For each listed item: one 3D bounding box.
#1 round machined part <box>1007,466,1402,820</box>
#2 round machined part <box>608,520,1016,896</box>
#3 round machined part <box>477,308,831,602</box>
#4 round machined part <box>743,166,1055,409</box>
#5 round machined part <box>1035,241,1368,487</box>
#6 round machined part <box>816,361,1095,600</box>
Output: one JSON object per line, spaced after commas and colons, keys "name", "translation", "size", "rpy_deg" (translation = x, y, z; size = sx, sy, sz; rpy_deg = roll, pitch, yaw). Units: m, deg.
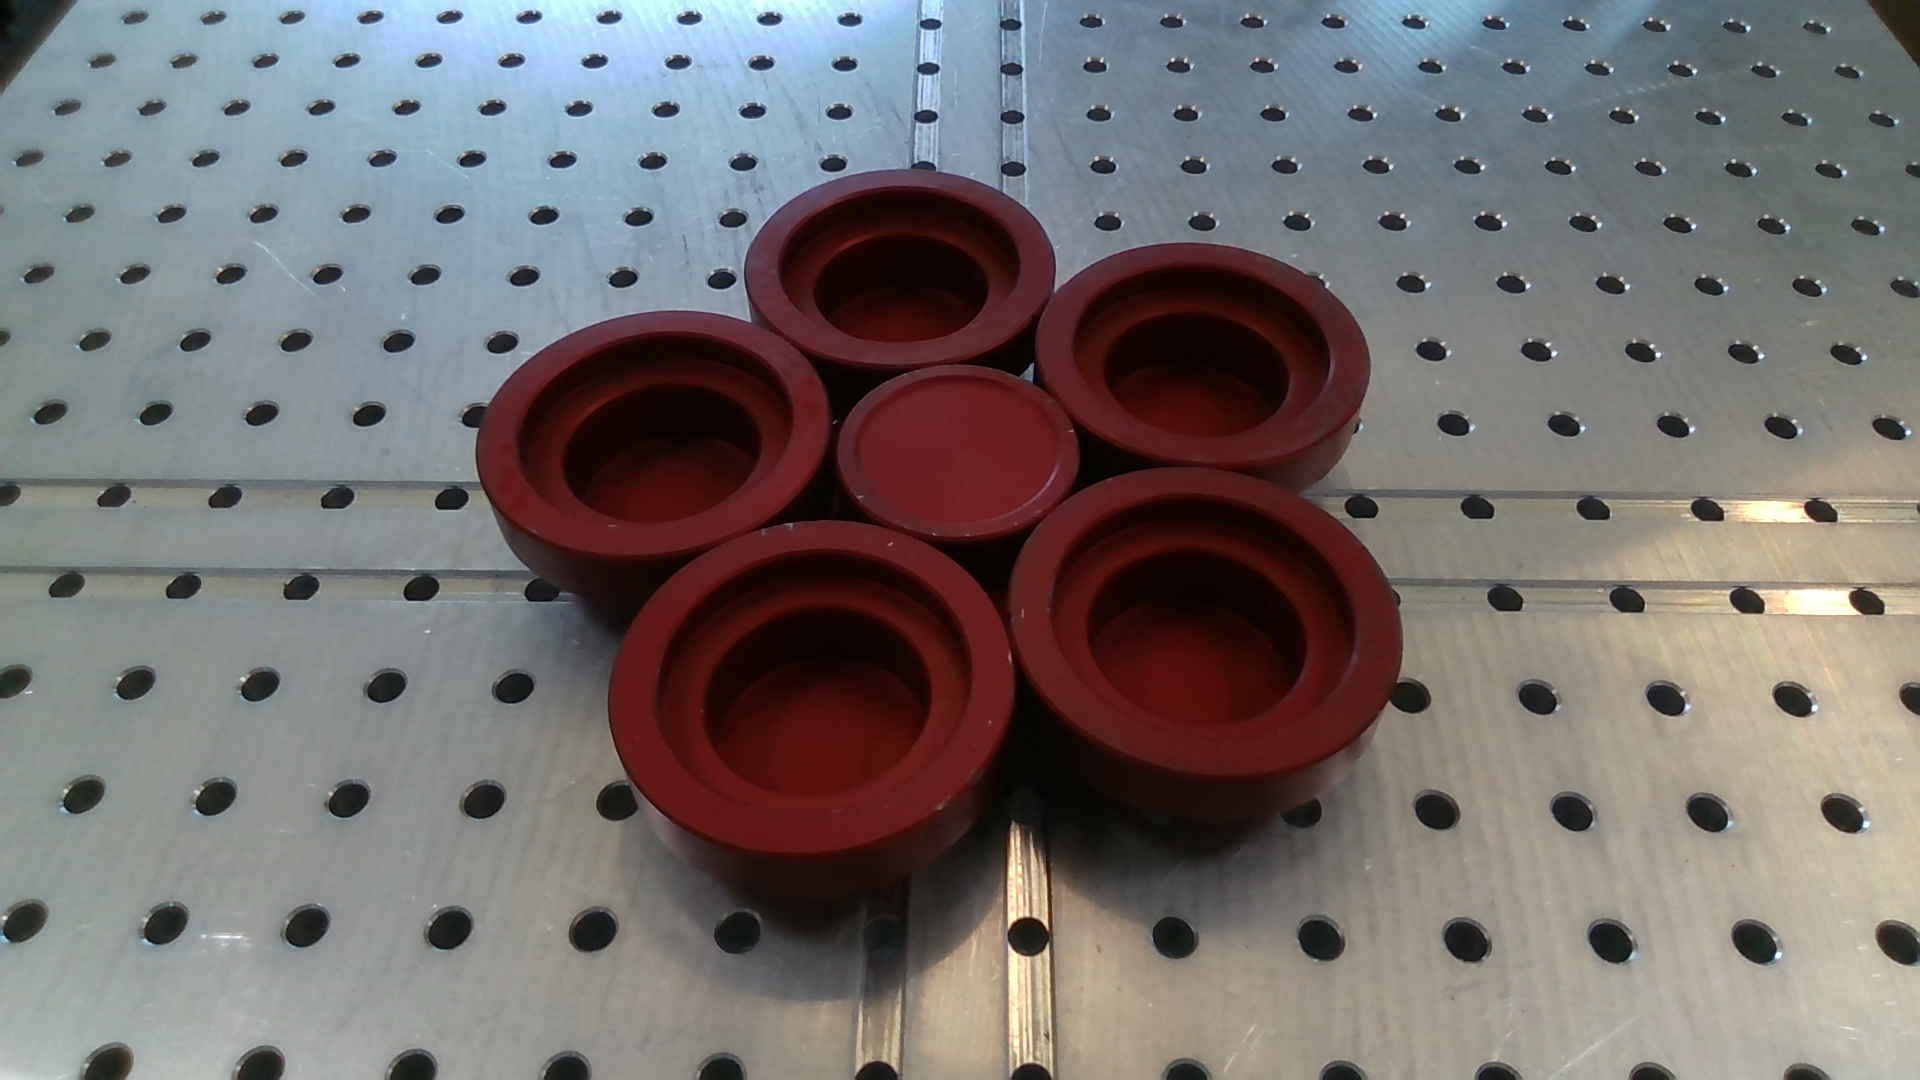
{"name": "round machined part", "translation": [0.061, 0.030, 0.360], "size": [0.098, 0.042, 0.098], "rpy_deg": [0, 50, 0]}
{"name": "round machined part", "translation": [-0.035, 0.045, 0.348], "size": [0.098, 0.042, 0.098], "rpy_deg": [0, 50, 0]}
{"name": "round machined part", "translation": [-0.085, -0.020, 0.402], "size": [0.098, 0.042, 0.098], "rpy_deg": [0, 50, 0]}
{"name": "round machined part", "translation": [-0.019, -0.075, 0.448], "size": [0.098, 0.042, 0.098], "rpy_deg": [0, 50, 0]}
{"name": "round machined part", "translation": [0.071, -0.045, 0.423], "size": [0.098, 0.042, 0.098], "rpy_deg": [0, 50, 0]}
{"name": "round machined part", "translation": [-0.001, -0.013, 0.396], "size": [0.098, 0.042, 0.098], "rpy_deg": [0, 50, 0]}
